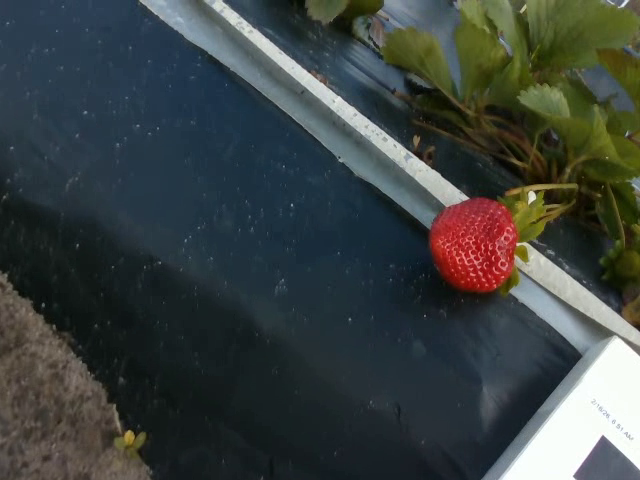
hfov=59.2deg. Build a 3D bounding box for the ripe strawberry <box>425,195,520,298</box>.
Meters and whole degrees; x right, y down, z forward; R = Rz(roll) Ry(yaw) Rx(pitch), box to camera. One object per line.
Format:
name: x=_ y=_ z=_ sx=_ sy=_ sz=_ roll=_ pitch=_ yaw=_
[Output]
ripe strawberry: x=0.063 y=0.002 z=0.232 sx=0.052 sy=0.048 sz=0.030 roll=9 pitch=-26 yaw=-31
